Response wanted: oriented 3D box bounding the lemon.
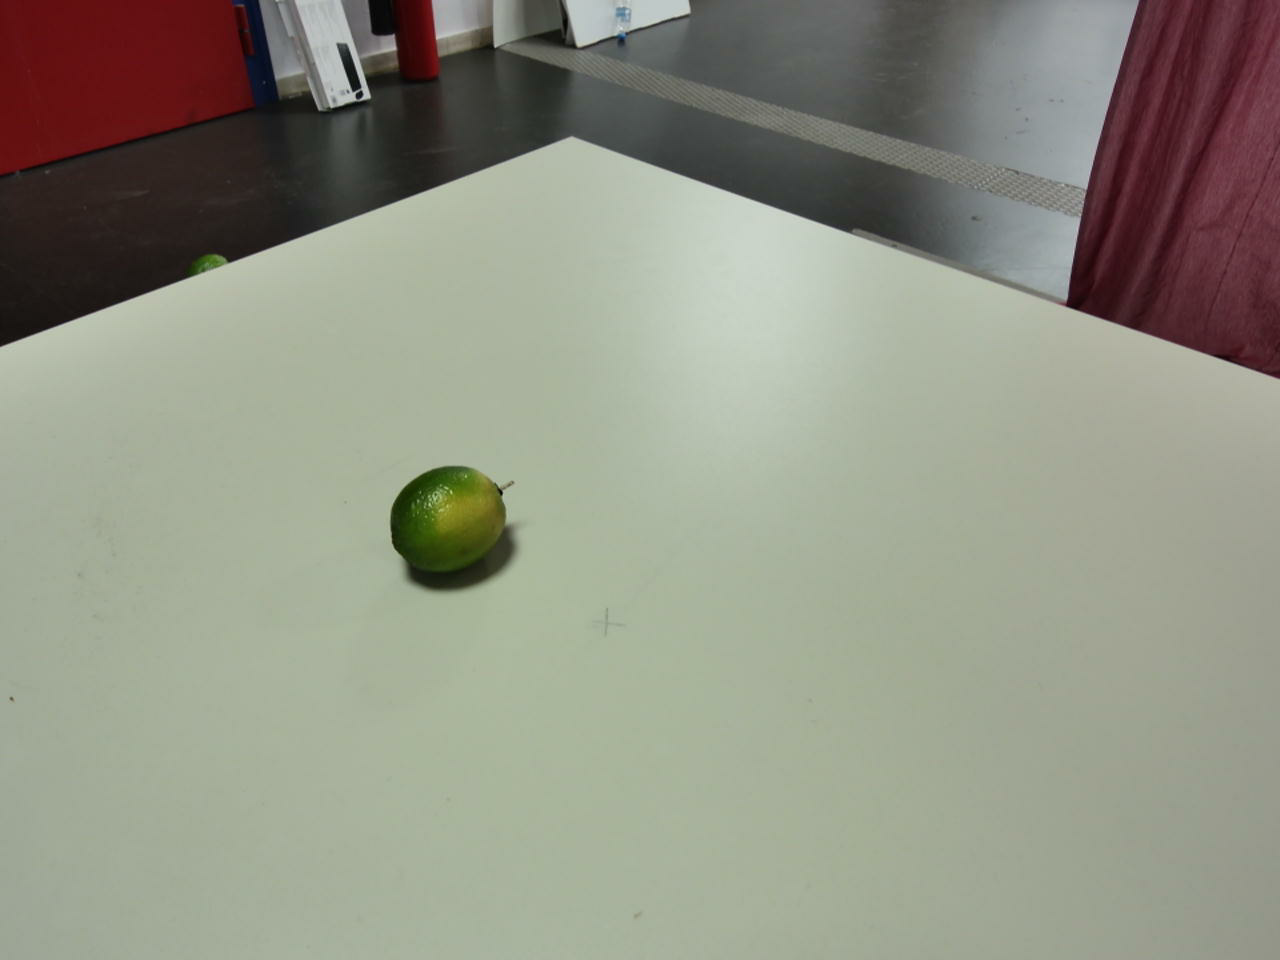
[{"bbox_3d":[-0.094,0.019,0.491,0.055,0.050,0.054,2,37,0],"label":"lemon"}]
